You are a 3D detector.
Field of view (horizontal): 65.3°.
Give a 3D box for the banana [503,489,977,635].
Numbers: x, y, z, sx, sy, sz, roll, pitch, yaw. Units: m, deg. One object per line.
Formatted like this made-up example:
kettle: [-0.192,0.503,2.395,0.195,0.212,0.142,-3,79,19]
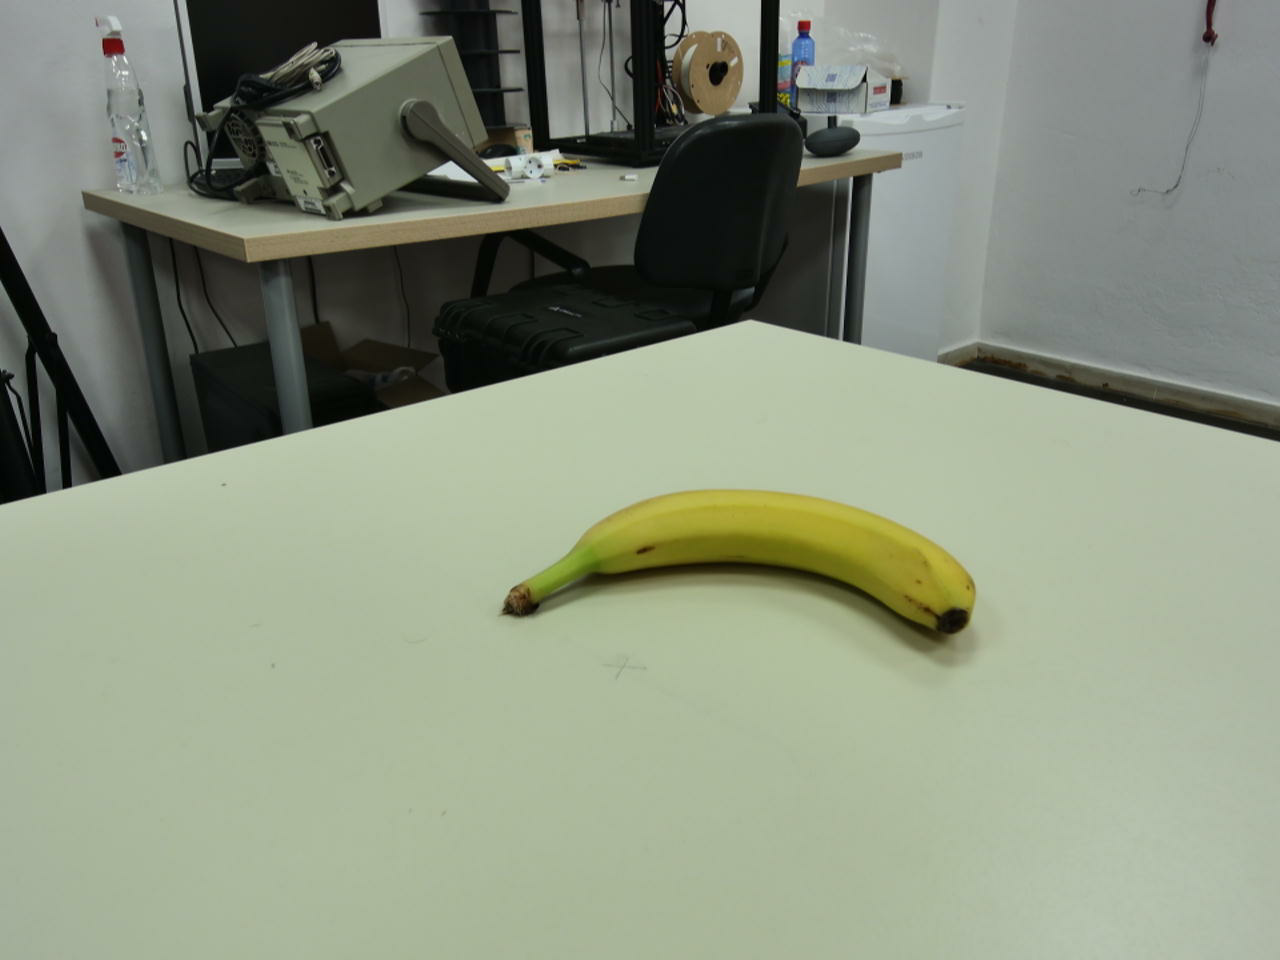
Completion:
banana: [0.044,0.034,0.454,0.196,0.041,0.094,5,22,14]
